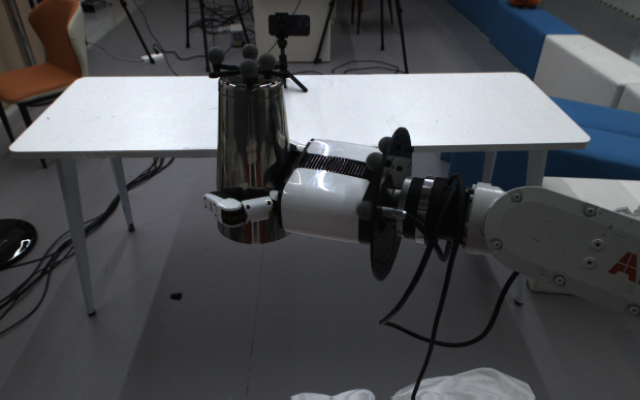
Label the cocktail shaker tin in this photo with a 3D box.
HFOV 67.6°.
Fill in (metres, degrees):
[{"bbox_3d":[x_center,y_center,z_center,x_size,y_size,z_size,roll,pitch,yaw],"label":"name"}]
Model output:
[{"bbox_3d":[-0.071,-0.047,0.531,0.093,0.170,0.093,1,28,-1],"label":"cocktail shaker tin"}]
